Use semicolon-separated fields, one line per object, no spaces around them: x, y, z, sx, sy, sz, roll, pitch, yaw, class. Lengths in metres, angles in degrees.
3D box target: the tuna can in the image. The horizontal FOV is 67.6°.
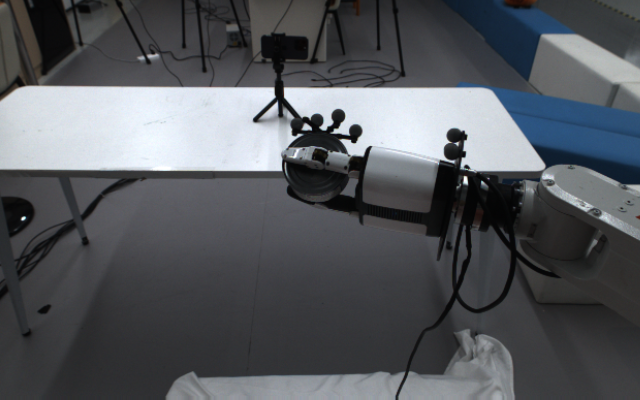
-0.004;-0.043;0.622;0.085;0.034;0.085;-3;69;7;tuna can
